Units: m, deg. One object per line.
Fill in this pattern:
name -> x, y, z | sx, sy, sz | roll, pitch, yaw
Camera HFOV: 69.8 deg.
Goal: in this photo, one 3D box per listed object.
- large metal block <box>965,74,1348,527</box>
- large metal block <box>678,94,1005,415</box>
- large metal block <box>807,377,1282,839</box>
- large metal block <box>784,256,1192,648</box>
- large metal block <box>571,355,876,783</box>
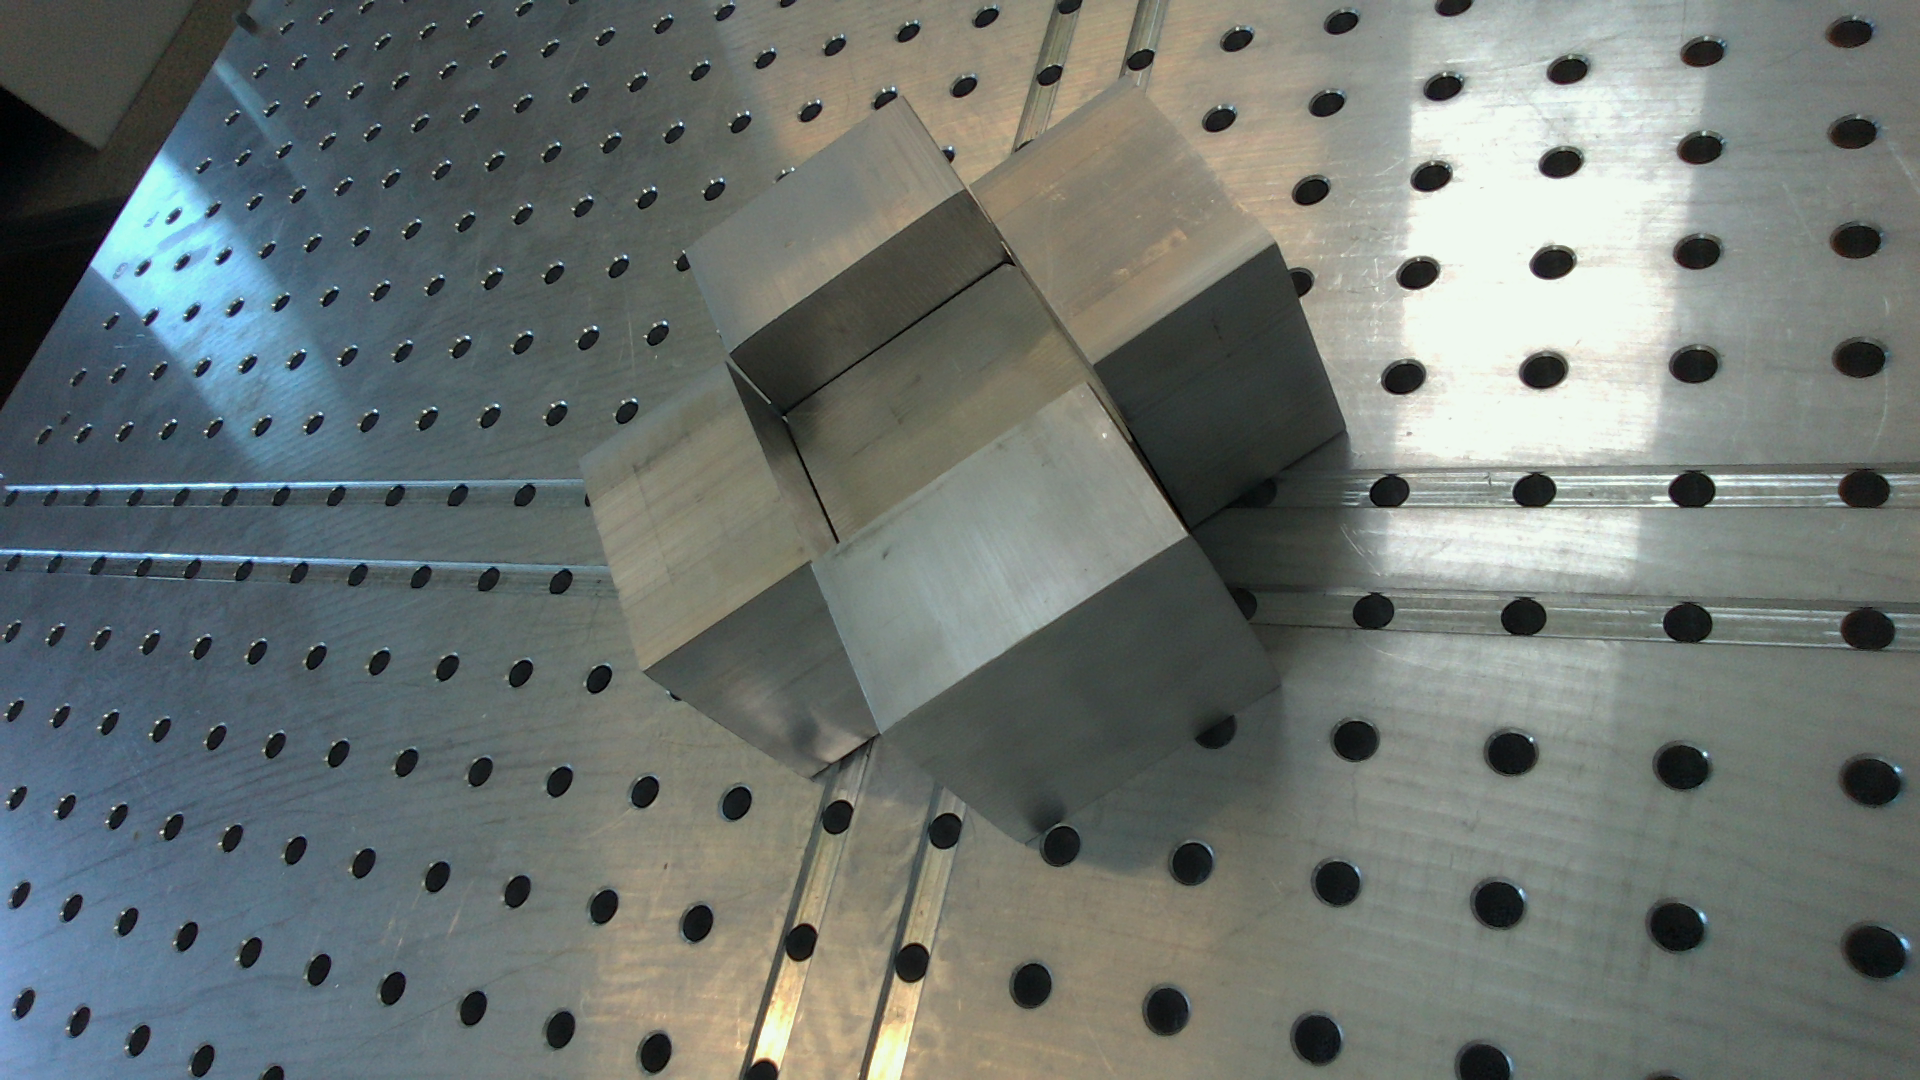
large metal block -> 0.054, -0.062, 0.371 | 0.050, 0.080, 0.080 | -33, 51, 6
large metal block -> -0.024, -0.071, 0.419 | 0.080, 0.080, 0.050 | -34, 51, 6
large metal block -> 0.023, 0.020, 0.338 | 0.080, 0.080, 0.050 | -33, 51, 7
large metal block -> 0.006, -0.019, 0.388 | 0.080, 0.050, 0.080 | -35, 49, 8
large metal block -> -0.056, 0.010, 0.385 | 0.050, 0.080, 0.080 | -34, 51, 6
